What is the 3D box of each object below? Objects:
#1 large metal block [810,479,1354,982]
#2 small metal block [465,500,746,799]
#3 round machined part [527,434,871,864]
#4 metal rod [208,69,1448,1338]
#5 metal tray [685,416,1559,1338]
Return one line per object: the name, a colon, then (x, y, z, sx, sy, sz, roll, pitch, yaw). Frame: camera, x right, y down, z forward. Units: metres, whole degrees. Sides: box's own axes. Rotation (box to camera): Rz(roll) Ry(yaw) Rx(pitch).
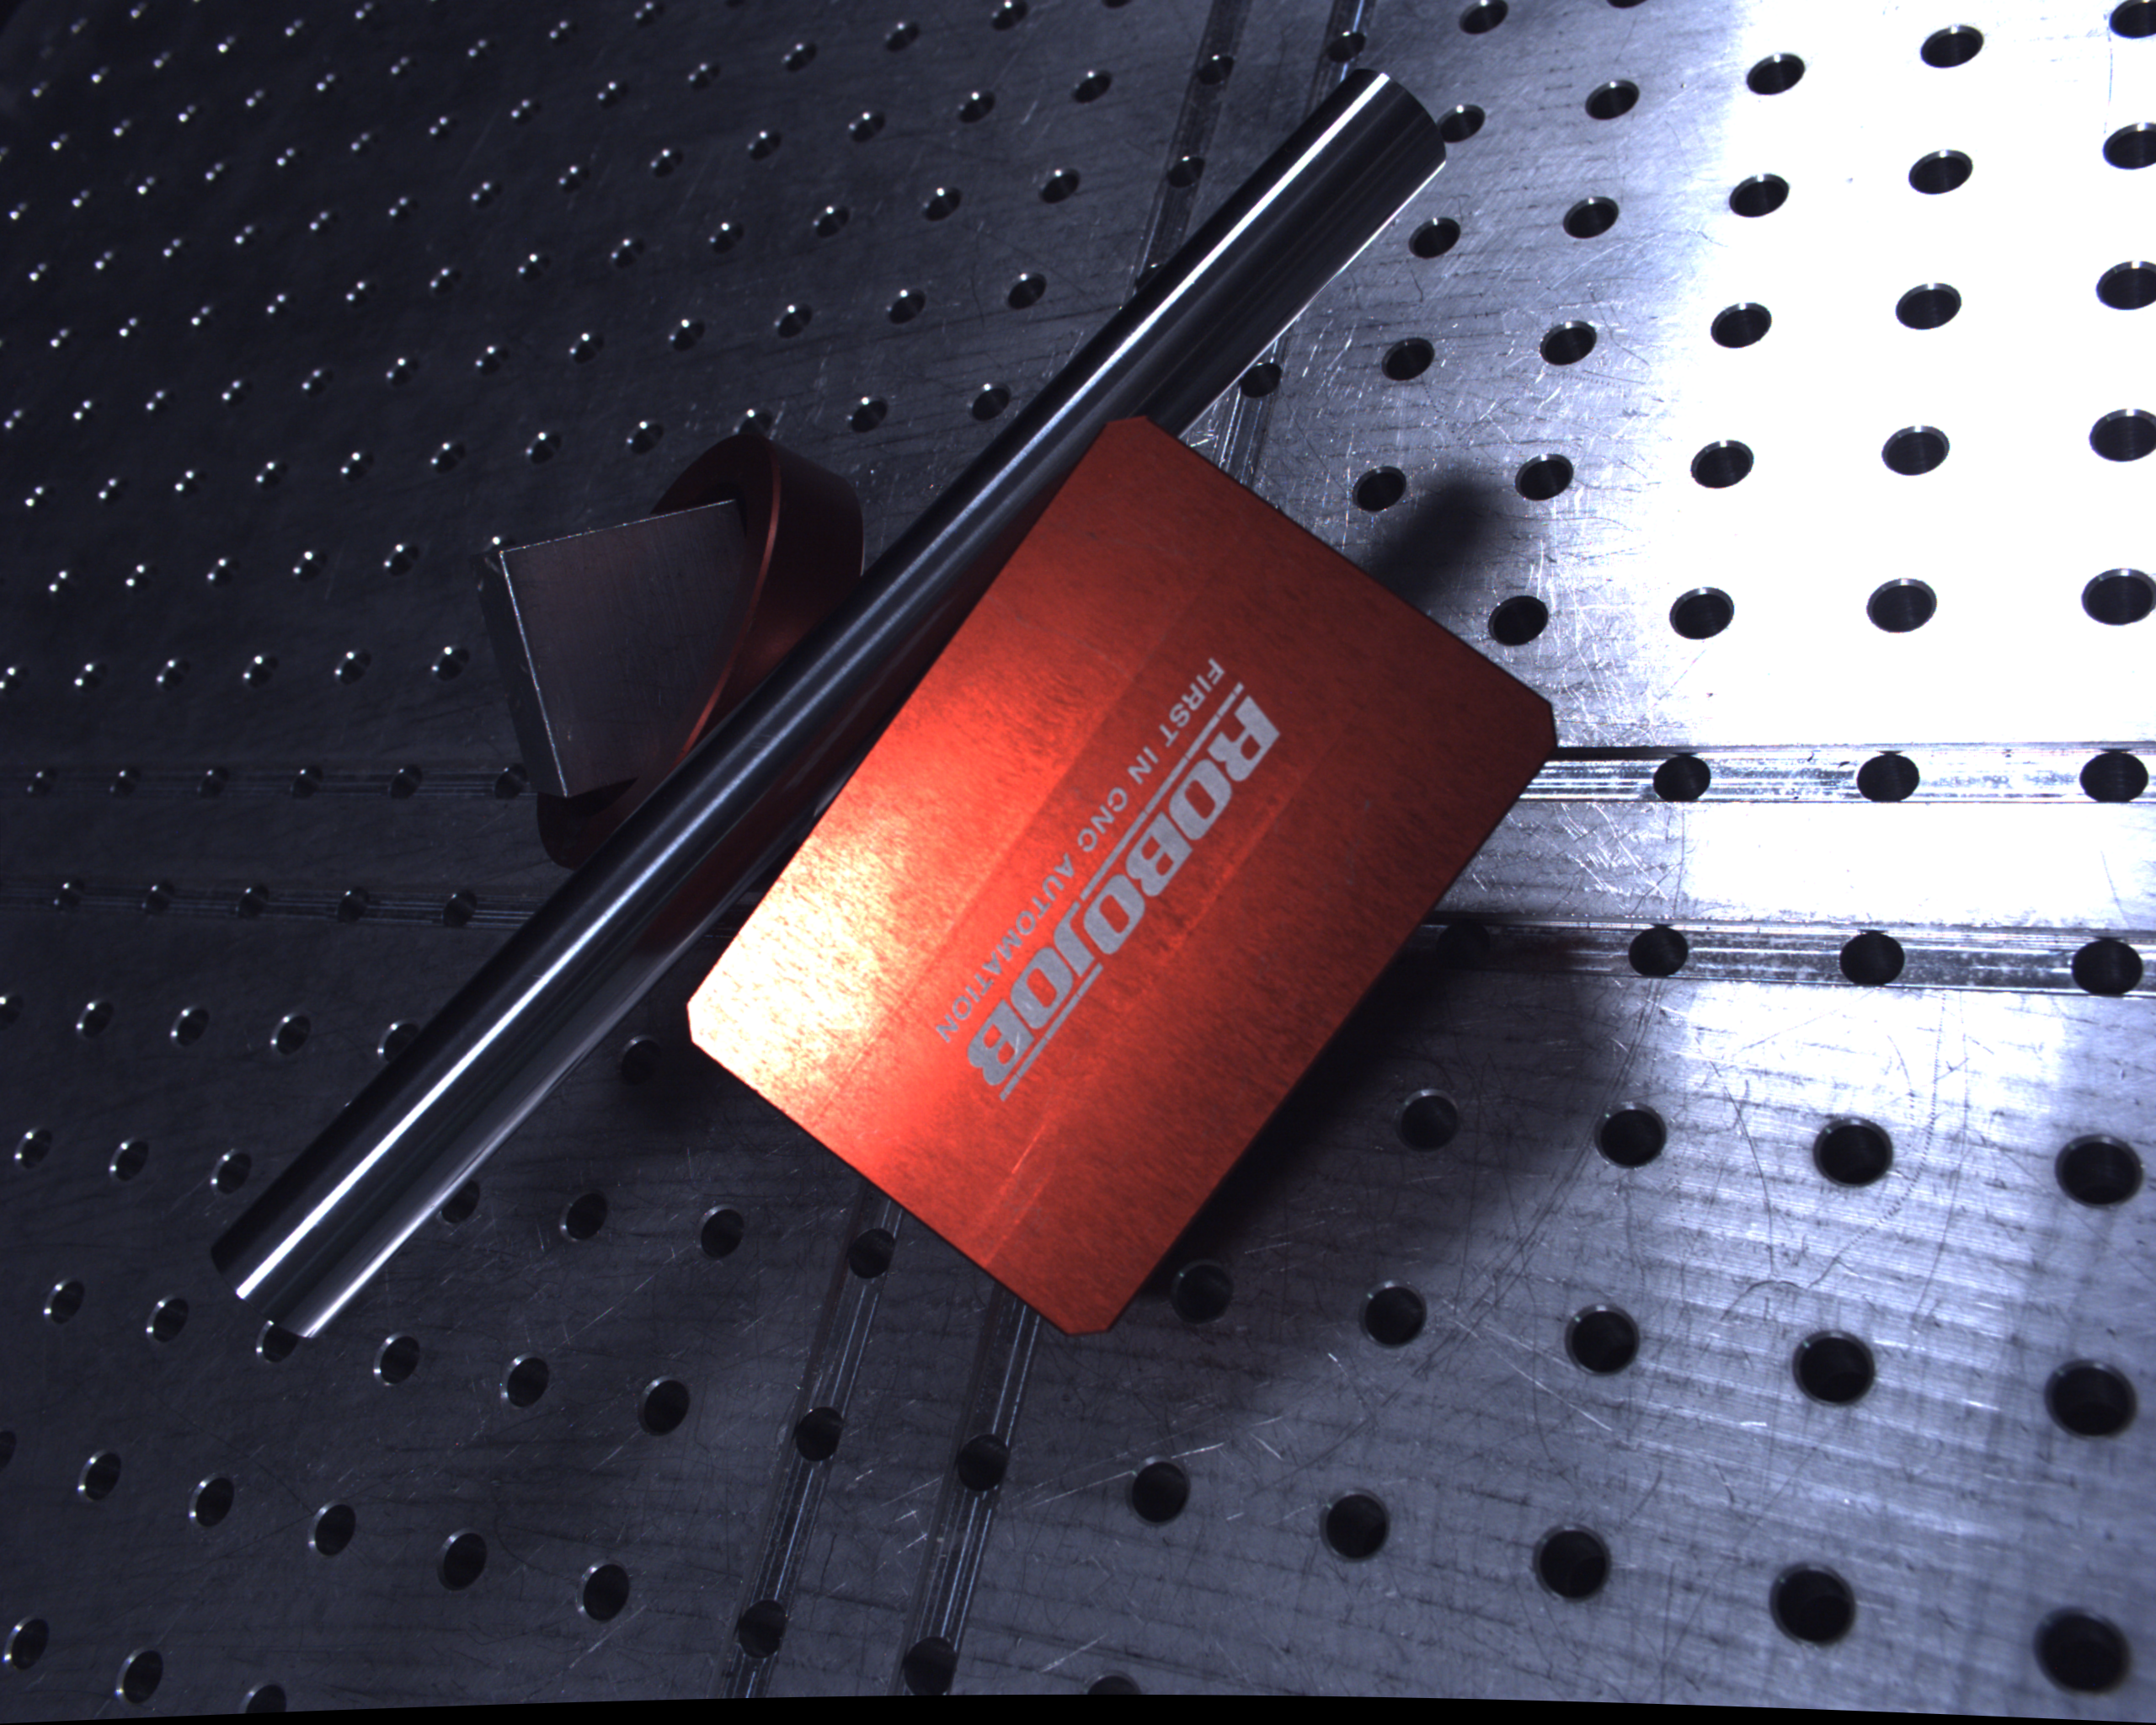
large metal block: (0.000, -0.025, 0.406, 0.080, 0.050, 0.080, 9, 66, 32)
small metal block: (-0.092, -0.045, 0.430, 0.050, 0.050, 0.025, -18, 14, -27)
round machined part: (-0.072, -0.037, 0.439, 0.098, 0.042, 0.098, -34, 42, 38)
metal rod: (-0.042, -0.033, 0.384, 0.300, 0.025, 0.025, -47, 52, -5)
metal tray: (0.007, 0.003, 0.355, 0.090, 0.030, 0.130, 37, 96, 7)
